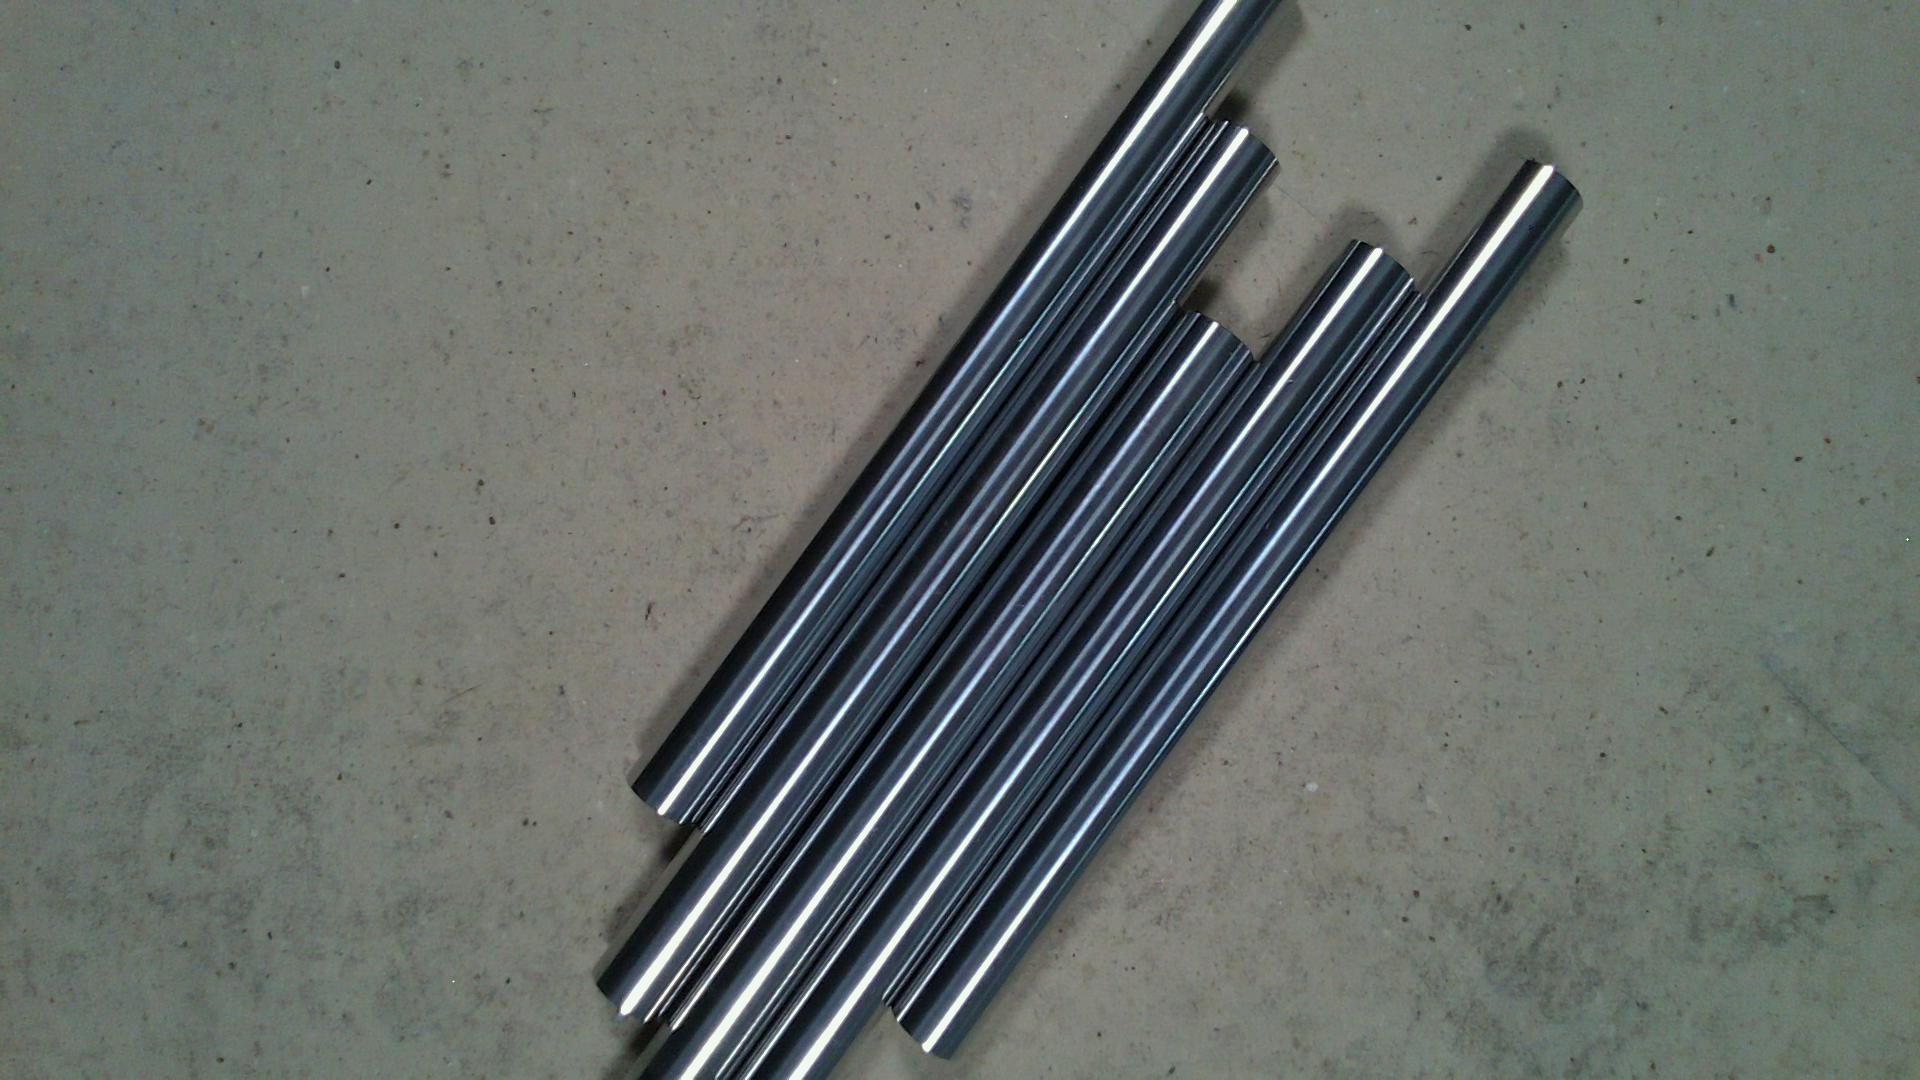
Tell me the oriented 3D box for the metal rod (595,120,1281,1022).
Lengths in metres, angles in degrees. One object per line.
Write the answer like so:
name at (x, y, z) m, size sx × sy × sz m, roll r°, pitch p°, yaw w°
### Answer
metal rod at (-0.006, 0.009, 0.395) m, size 0.025 × 0.025 × 0.300 m, roll 36°, pitch 90°, yaw 0°

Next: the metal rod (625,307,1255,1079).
metal rod at (-0.014, 0.062, 0.396) m, size 0.025 × 0.025 × 0.300 m, roll 36°, pitch 90°, yaw 0°

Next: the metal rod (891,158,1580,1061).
metal rod at (0.078, 0.020, 0.395) m, size 0.025 × 0.025 × 0.300 m, roll 36°, pitch 90°, yaw 0°

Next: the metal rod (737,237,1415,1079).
metal rod at (0.032, 0.042, 0.395) m, size 0.025 × 0.025 × 0.300 m, roll 36°, pitch 90°, yaw 0°

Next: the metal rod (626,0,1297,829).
metal rod at (0.002, -0.046, 0.395) m, size 0.025 × 0.025 × 0.300 m, roll 36°, pitch 90°, yaw 0°
